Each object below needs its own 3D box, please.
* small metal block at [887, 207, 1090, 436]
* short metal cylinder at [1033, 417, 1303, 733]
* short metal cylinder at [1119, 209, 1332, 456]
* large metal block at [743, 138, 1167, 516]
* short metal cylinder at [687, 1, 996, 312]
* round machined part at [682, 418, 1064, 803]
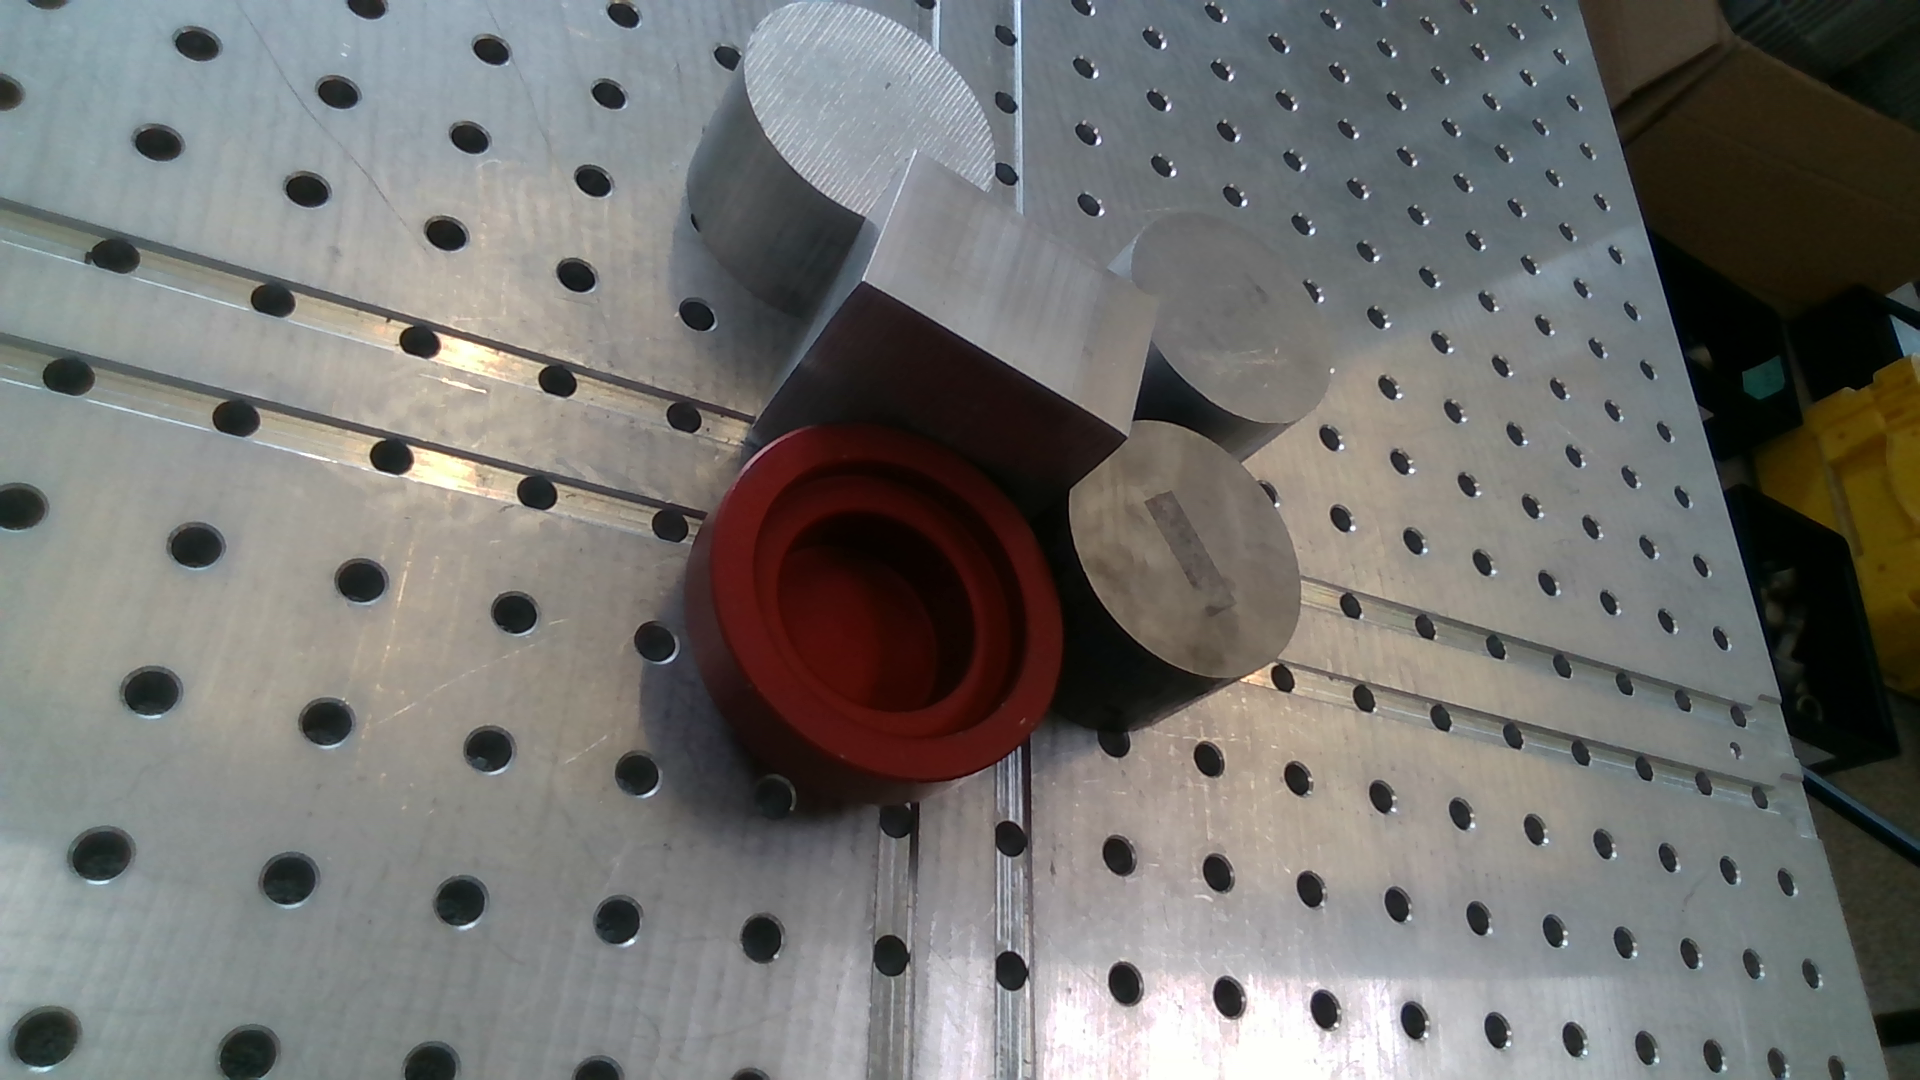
[{"bbox_3d":[0.010,-0.070,0.439,0.050,0.025,0.050,27,54,-17],"label":"small metal block"},{"bbox_3d":[0.053,0.011,0.407,0.080,0.050,0.080,14,59,-25],"label":"short metal cylinder"},{"bbox_3d":[0.076,-0.062,0.460,0.080,0.050,0.080,14,59,-25],"label":"short metal cylinder"},{"bbox_3d":[-0.002,-0.049,0.382,0.080,0.080,0.050,28,54,-16],"label":"large metal block"},{"bbox_3d":[-0.036,-0.114,0.419,0.080,0.050,0.080,14,59,-25],"label":"short metal cylinder"},{"bbox_3d":[-0.025,0.021,0.358,0.098,0.042,0.098,14,59,-25],"label":"round machined part"}]
